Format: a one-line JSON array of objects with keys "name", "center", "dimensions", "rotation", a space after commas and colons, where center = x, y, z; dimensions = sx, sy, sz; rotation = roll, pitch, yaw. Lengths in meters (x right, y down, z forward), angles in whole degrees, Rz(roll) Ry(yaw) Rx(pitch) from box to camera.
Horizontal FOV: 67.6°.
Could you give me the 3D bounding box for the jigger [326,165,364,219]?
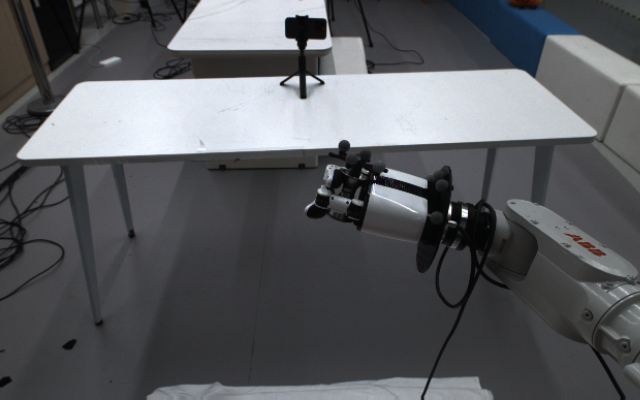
[{"name": "jigger", "center": [0.040, -0.007, 0.700], "dimensions": [0.043, 0.071, 0.043], "rotation": [18, 17, -6]}]
